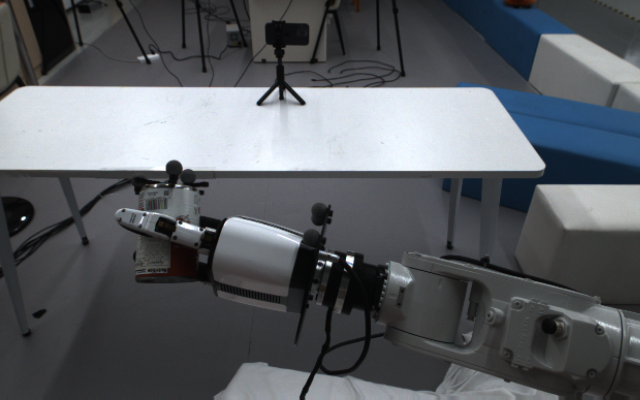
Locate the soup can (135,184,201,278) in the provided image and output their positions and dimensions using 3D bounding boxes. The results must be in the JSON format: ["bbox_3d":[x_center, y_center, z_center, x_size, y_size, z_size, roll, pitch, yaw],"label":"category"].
[{"bbox_3d":[-0.165,0.040,0.535,0.067,0.067,0.101,-1,76,-5],"label":"soup can"}]
